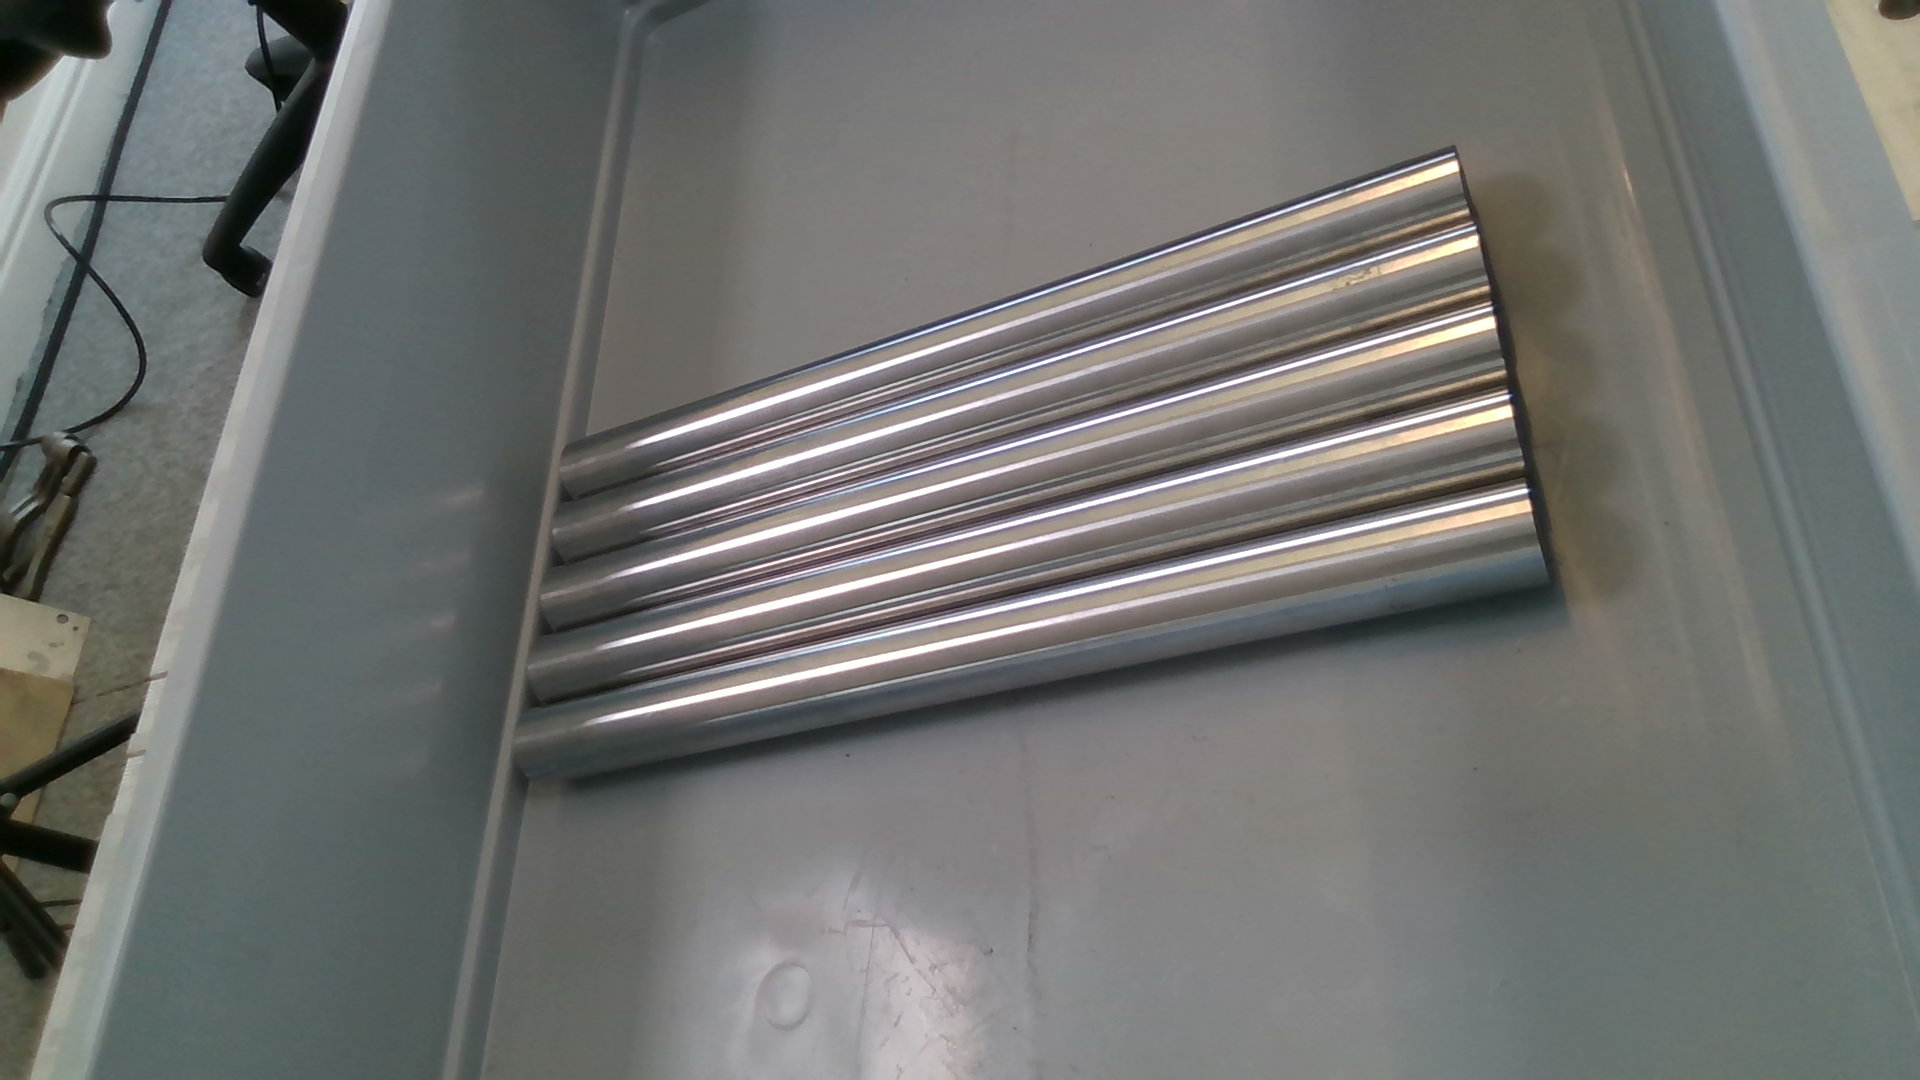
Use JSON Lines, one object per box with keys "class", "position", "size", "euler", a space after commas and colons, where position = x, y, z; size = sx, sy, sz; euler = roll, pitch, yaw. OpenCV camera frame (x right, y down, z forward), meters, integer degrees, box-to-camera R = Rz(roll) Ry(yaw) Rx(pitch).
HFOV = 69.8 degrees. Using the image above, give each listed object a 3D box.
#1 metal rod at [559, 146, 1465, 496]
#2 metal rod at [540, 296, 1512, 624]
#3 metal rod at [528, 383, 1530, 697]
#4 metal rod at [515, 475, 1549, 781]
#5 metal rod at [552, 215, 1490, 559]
{"class": "metal rod", "position": [-0.001, -0.057, 0.422], "size": [0.300, 0.025, 0.025], "euler": [-14, 59, 25]}
{"class": "metal rod", "position": [0.000, -0.014, 0.399], "size": [0.300, 0.025, 0.025], "euler": [-14, 59, 25]}
{"class": "metal rod", "position": [0.000, 0.009, 0.387], "size": [0.300, 0.025, 0.025], "euler": [-14, 59, 25]}
{"class": "metal rod", "position": [-0.001, 0.031, 0.376], "size": [0.300, 0.025, 0.025], "euler": [-14, 59, 25]}
{"class": "metal rod", "position": [0.000, -0.036, 0.411], "size": [0.300, 0.025, 0.025], "euler": [-14, 59, 25]}
